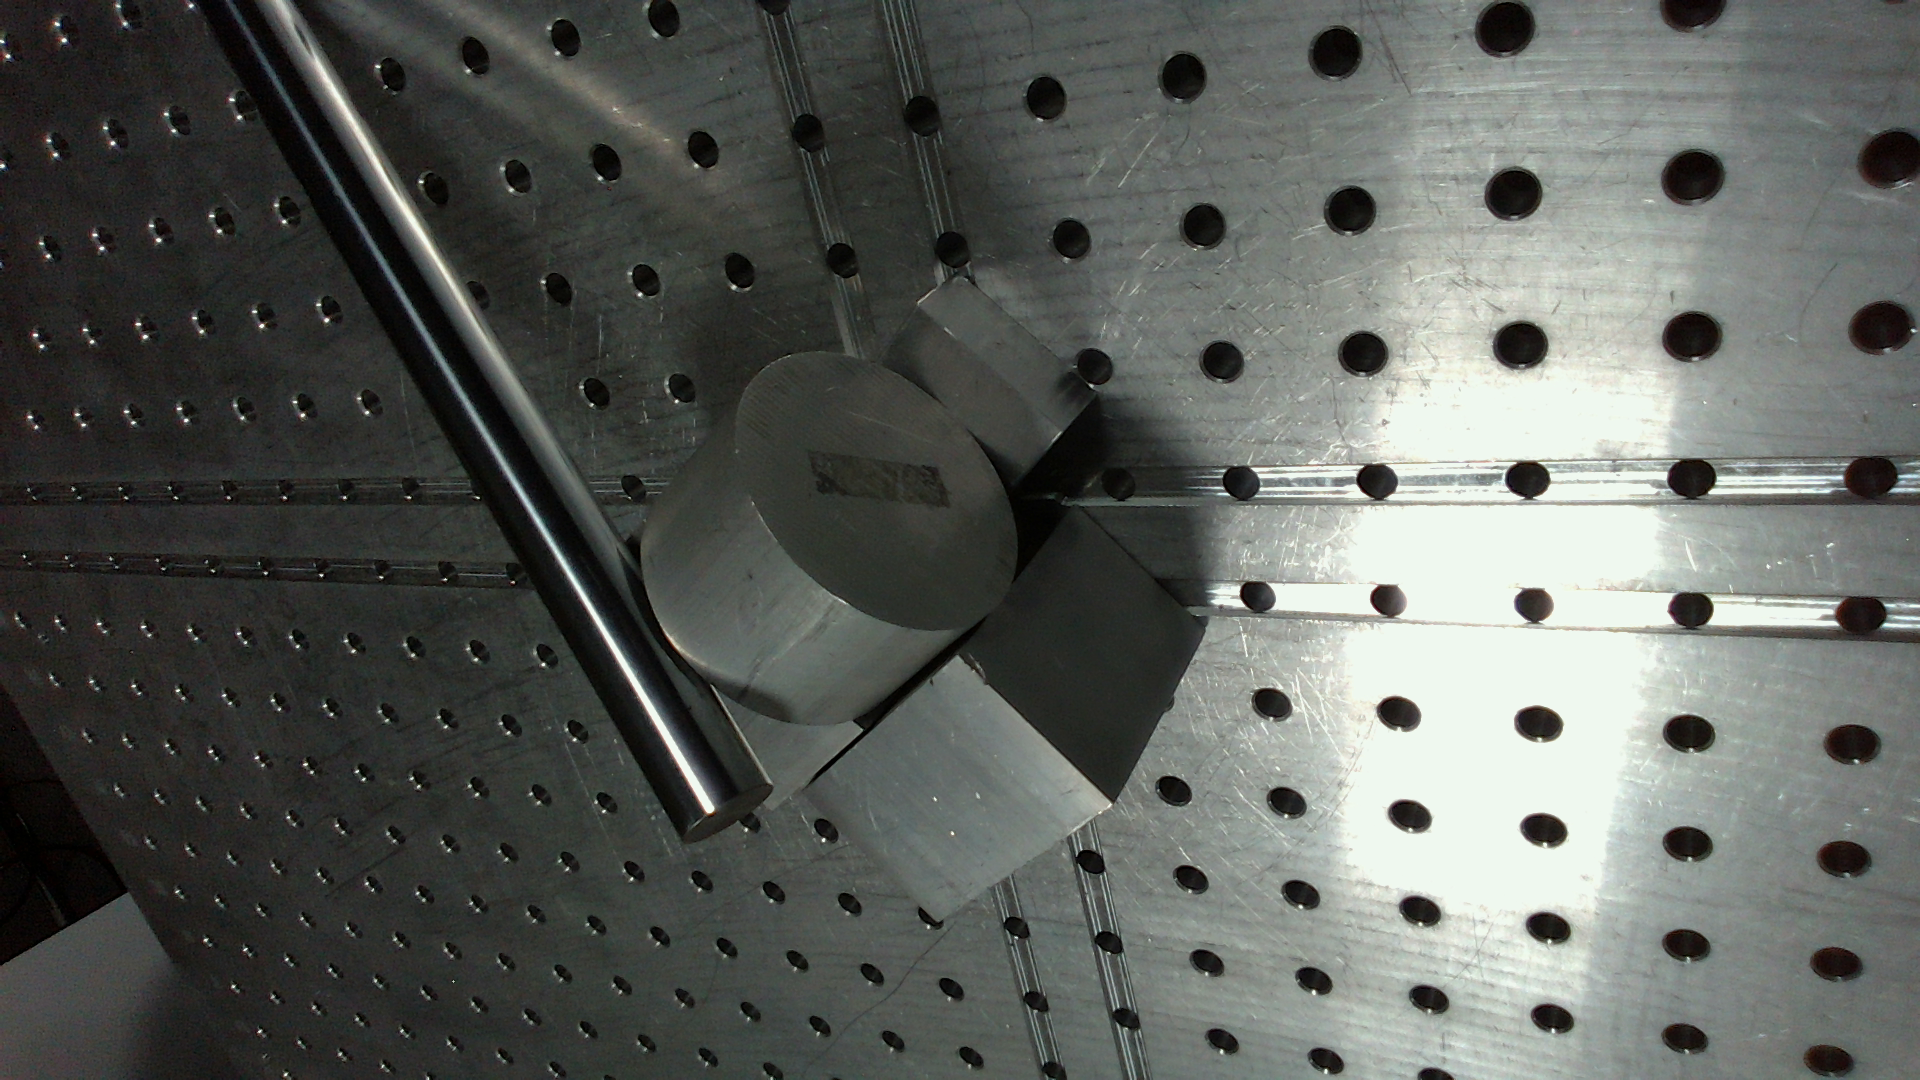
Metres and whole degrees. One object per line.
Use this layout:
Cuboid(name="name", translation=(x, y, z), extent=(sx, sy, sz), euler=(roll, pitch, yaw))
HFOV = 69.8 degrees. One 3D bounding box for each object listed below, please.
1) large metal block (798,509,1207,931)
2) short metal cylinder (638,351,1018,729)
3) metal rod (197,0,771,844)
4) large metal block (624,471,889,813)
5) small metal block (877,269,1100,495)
Cuboid(name="large metal block", translation=(0.013, 0.049, 0.382), extent=(0.050, 0.080, 0.080), euler=(44, 129, -2))
Cuboid(name="short metal cylinder", translation=(-0.033, 0.000, 0.345), extent=(0.080, 0.080, 0.050), euler=(45, 129, -3))
Cuboid(name="metal rod", translation=(-0.138, -0.053, 0.370), extent=(0.300, 0.025, 0.025), euler=(55, 131, 16))
Cuboid(name="large metal block", translation=(-0.050, 0.016, 0.398), extent=(0.080, 0.080, 0.050), euler=(44, 129, -2))
Cuboid(name="small metal block", translation=(0.001, -0.036, 0.374), extent=(0.050, 0.025, 0.050), euler=(41, 129, 0))
